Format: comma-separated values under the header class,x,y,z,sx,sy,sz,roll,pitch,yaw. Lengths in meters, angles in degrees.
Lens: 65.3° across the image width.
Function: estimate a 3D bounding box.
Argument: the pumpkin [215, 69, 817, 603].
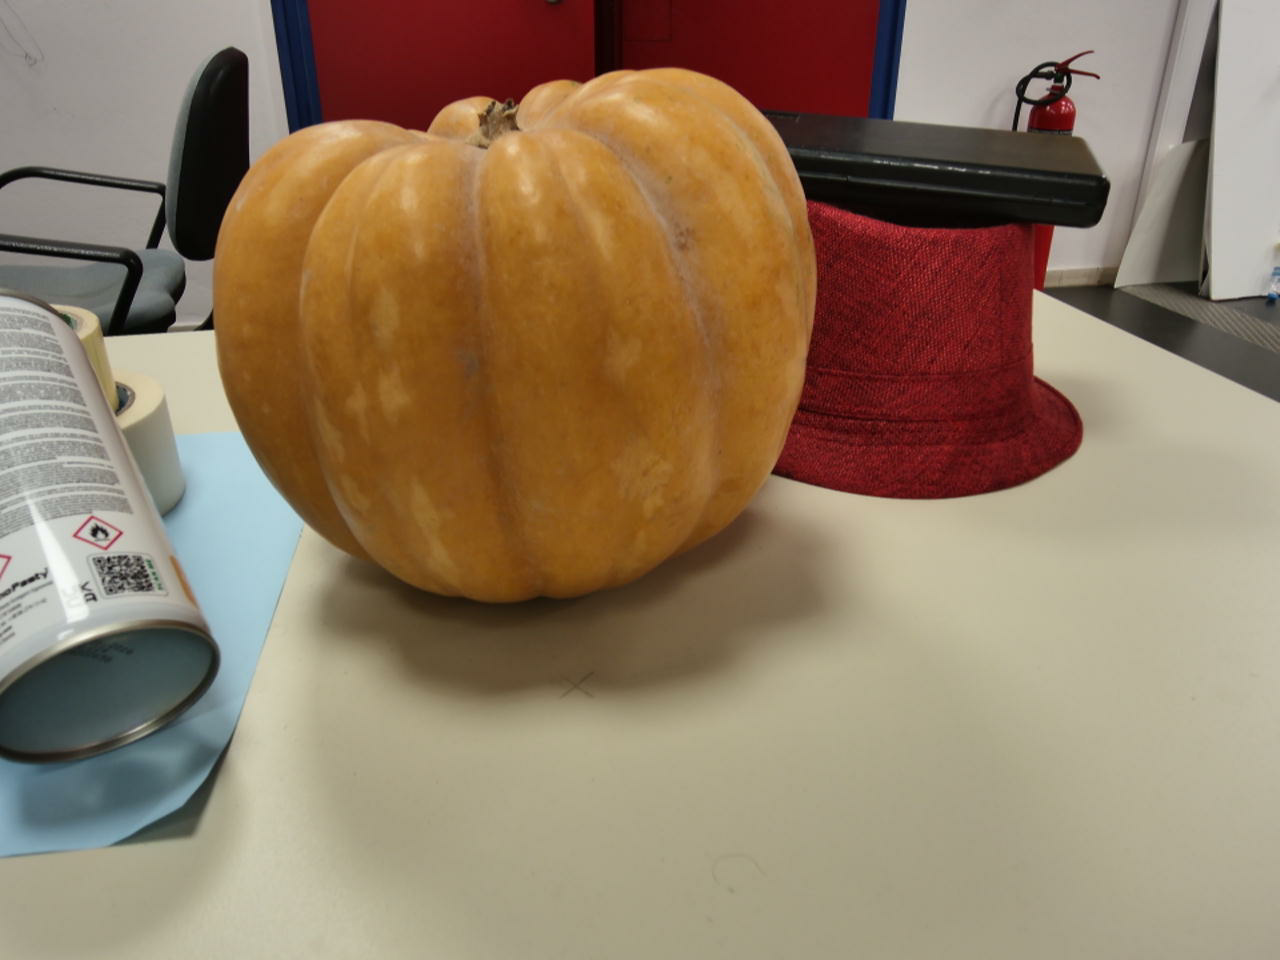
class,x,y,z,sx,sy,sz,roll,pitch,yaw
pumpkin,-0.042,-0.058,0.397,0.230,0.194,0.230,0,25,0
